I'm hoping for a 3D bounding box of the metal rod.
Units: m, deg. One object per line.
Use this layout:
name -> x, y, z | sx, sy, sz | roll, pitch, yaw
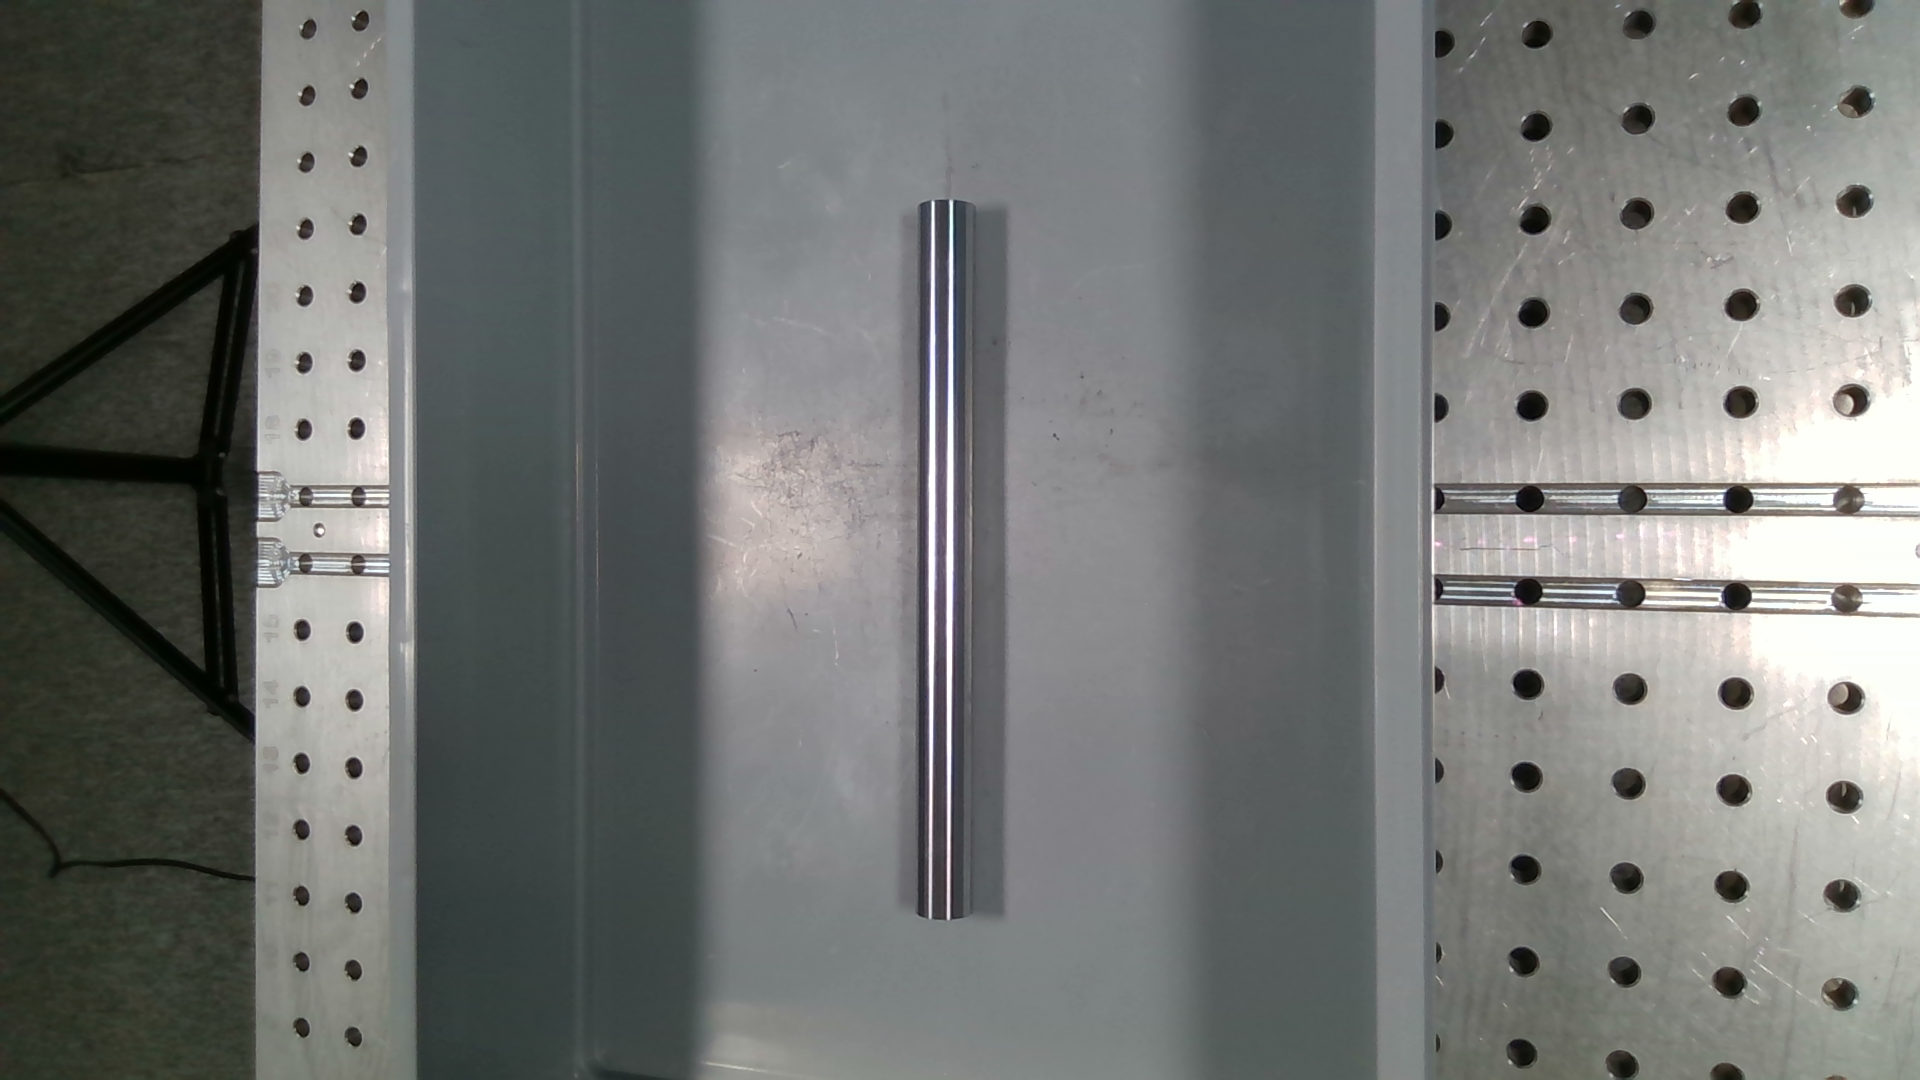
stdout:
metal rod -> -0.006, 0.008, 0.586 | 0.025, 0.025, 0.300 | 0, 91, 20
